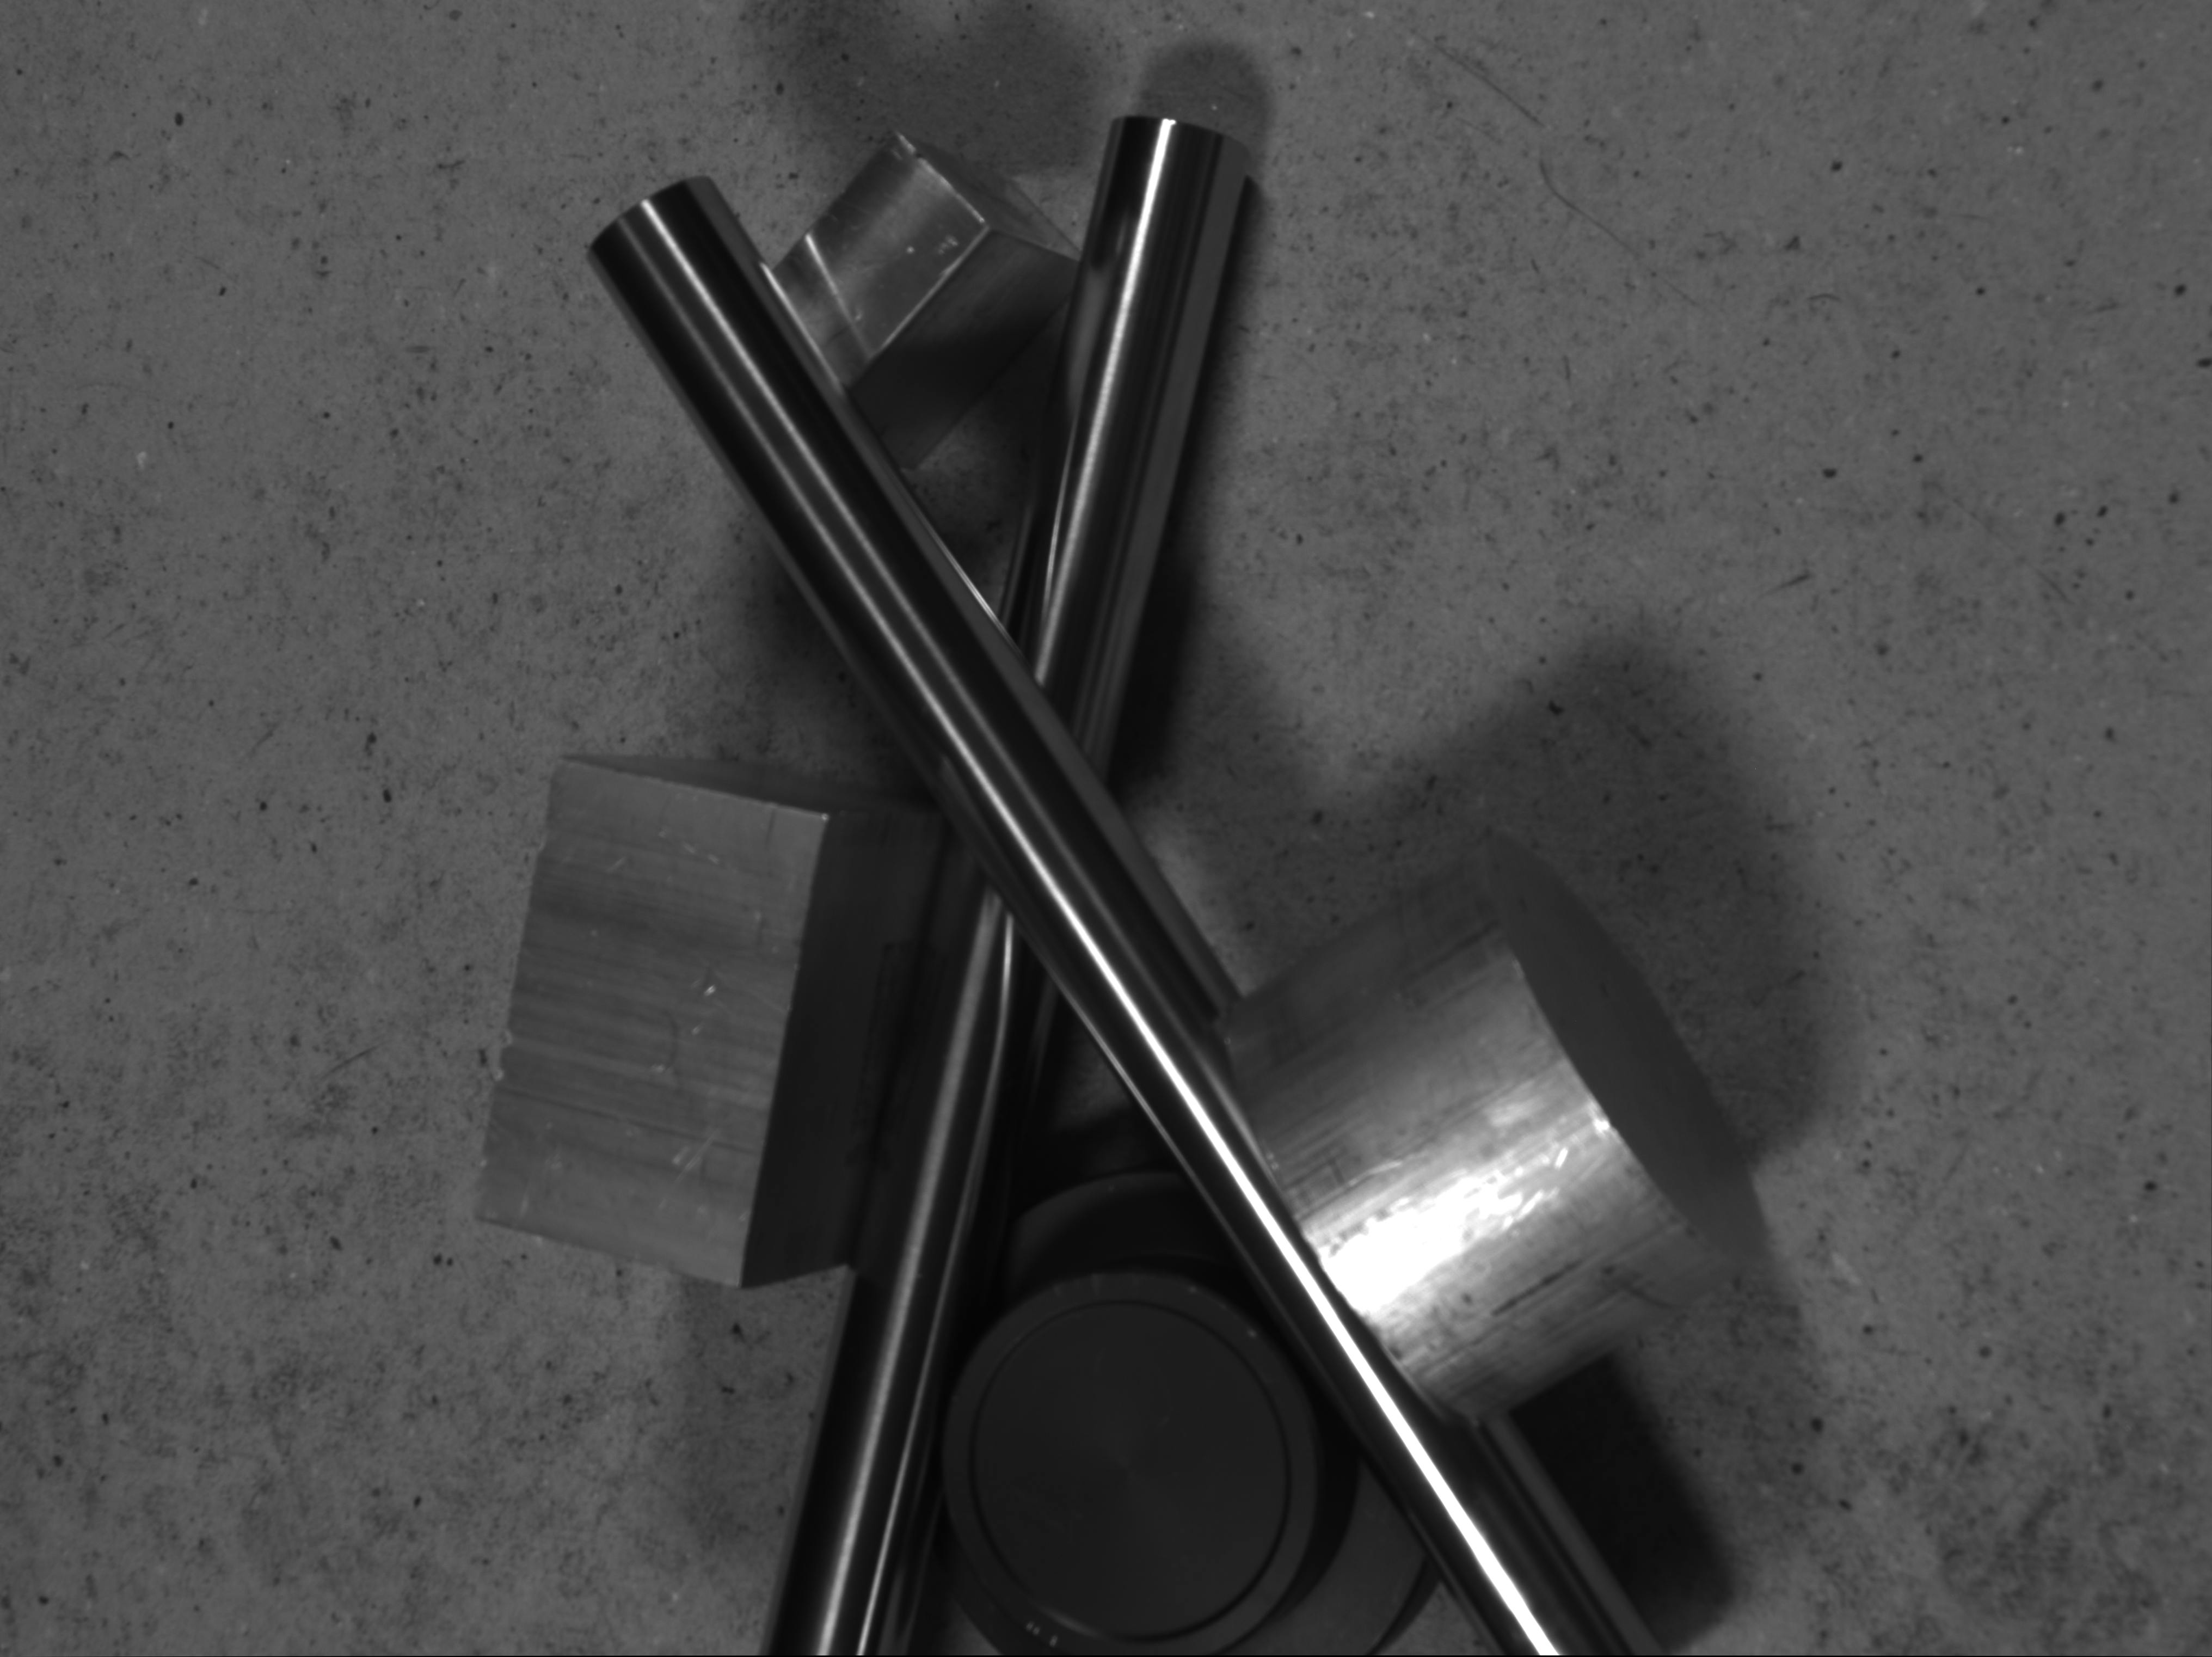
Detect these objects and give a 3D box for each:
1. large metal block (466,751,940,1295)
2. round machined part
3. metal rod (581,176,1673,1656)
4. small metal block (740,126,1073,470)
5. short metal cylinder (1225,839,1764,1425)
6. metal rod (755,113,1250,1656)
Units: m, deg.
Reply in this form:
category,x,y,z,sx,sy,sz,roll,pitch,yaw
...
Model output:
category,x,y,z,sx,sy,sz,roll,pitch,yaw
large metal block,-0.063,0.032,0.638,0.050,0.080,0.080,12,94,19
round machined part,0.011,0.108,0.632,0.098,0.042,0.098,0,90,20
metal rod,0.005,0.024,0.606,0.025,0.025,0.300,-34,88,17
small metal block,-0.036,-0.092,0.644,0.025,0.050,0.050,47,104,14
short metal cylinder,0.063,0.049,0.593,0.050,0.080,0.080,-34,79,17
metal rod,-0.021,0.025,0.636,0.025,0.025,0.300,12,88,19
